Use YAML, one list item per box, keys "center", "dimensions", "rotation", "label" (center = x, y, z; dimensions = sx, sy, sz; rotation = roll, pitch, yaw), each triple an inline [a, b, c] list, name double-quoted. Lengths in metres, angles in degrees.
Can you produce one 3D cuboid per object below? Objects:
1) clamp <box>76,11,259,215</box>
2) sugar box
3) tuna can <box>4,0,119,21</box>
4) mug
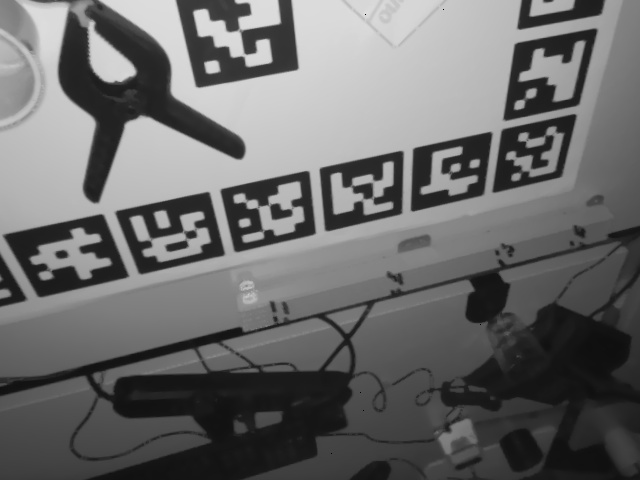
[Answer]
- center: [-0.163, -0.123, 0.647]
  dimensions: [0.166, 0.037, 0.202]
  rotation: [-20, 133, -1]
  label: "clamp"
- center: [0.051, -0.240, 0.590]
  dimensions: [0.092, 0.045, 0.178]
  rotation: [-40, 137, 18]
  label: "sugar box"
- center: [-0.195, -0.198, 0.520]
  dimensions: [0.087, 0.086, 0.033]
  rotation: [1, 131, -20]
  label: "tuna can"
- center: [-0.250, -0.151, 0.550]
  dimensions: [0.093, 0.081, 0.117]
  rotation: [-32, 137, 11]
  label: "mug"
